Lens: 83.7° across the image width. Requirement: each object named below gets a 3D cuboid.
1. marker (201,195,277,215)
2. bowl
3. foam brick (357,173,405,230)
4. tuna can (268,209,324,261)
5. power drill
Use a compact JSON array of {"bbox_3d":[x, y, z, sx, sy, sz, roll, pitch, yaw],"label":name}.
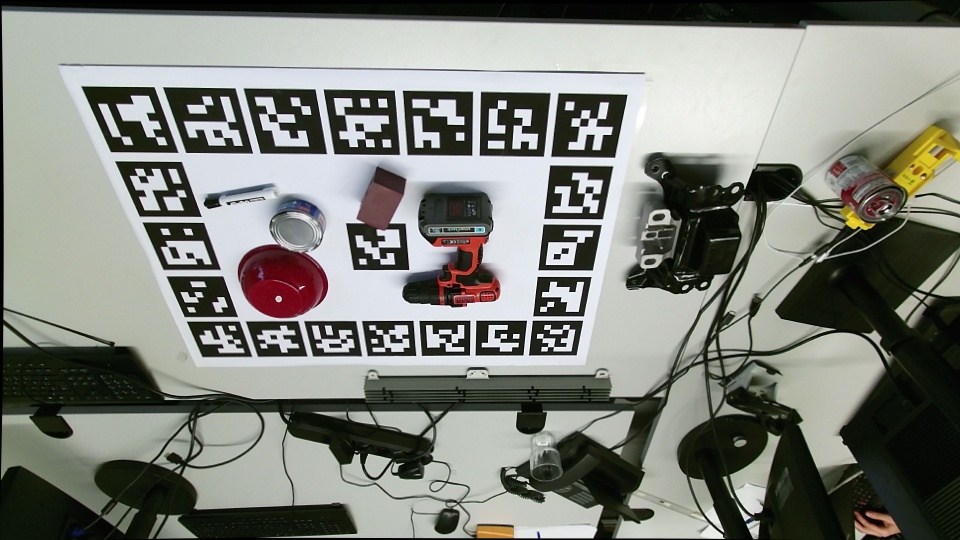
[{"bbox_3d":[-0.392,-0.105,0.869,0.121,0.019,0.019,-7,125,4],"label":"marker"},{"bbox_3d":[-0.361,0.044,0.974,0.162,0.055,0.162,-3,134,-3],"label":"bowl"},{"bbox_3d":[-0.161,-0.106,0.866,0.051,0.052,0.078,21,122,-15],"label":"foam brick"},{"bbox_3d":[-0.308,-0.059,0.899,0.086,0.033,0.086,0,127,1],"label":"tuna can"},{"bbox_3d":[-0.048,-0.013,0.934,0.185,0.057,0.187,1,129,1],"label":"power drill"}]
